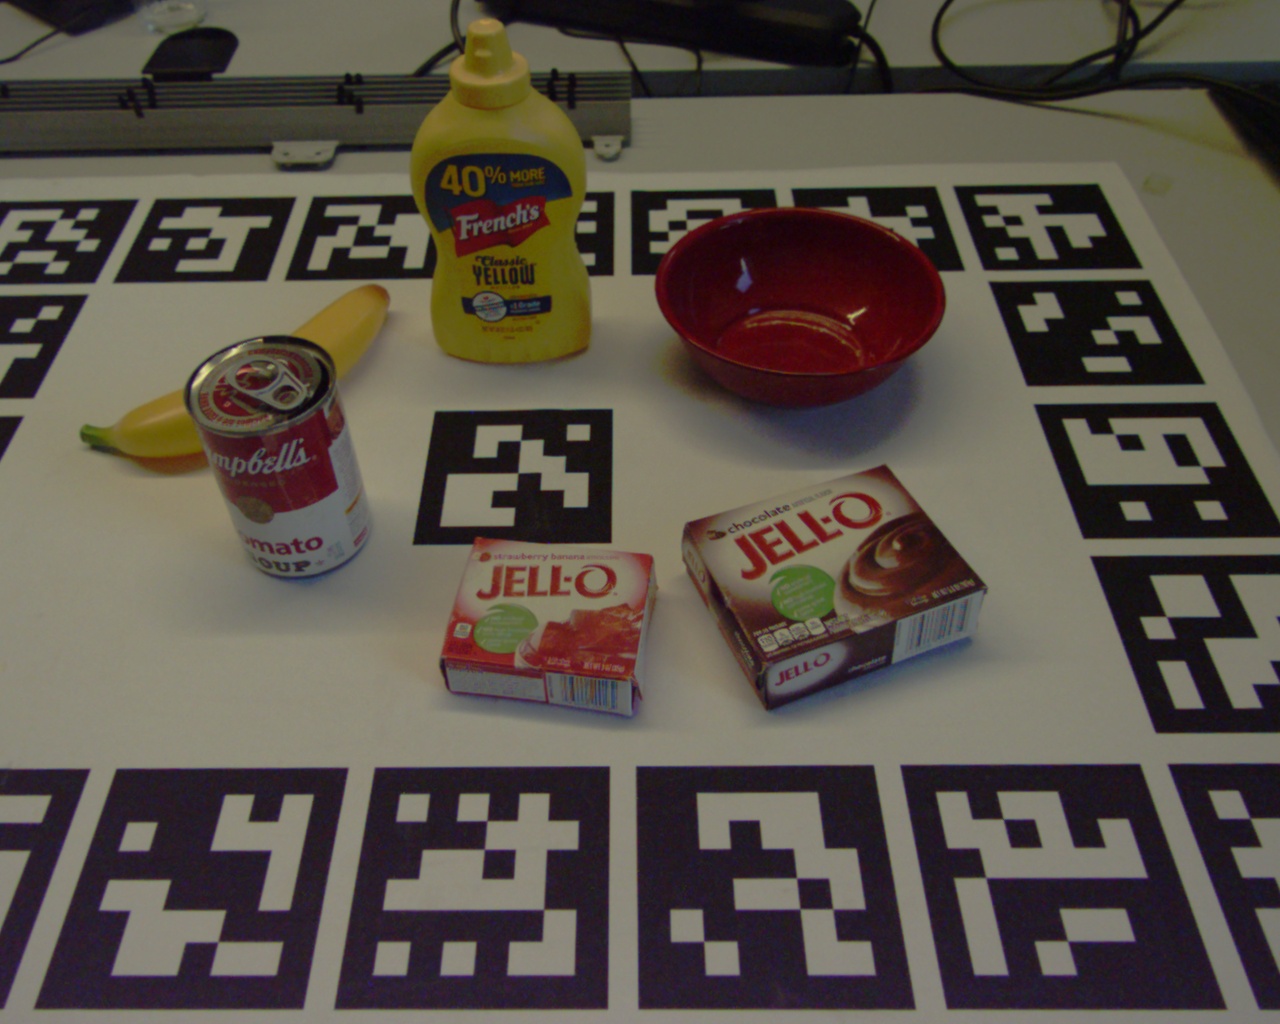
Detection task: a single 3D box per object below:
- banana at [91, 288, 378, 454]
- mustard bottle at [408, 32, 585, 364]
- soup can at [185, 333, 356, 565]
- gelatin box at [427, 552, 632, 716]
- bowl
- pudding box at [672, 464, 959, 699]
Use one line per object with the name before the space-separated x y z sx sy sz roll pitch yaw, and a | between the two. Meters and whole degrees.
banana | -0.228 -0.085 0.690 0.075 0.038 0.196 26 52 36
mustard bottle | -0.082 -0.176 0.652 0.096 0.191 0.058 0 44 0
soup can | -0.185 -0.031 0.583 0.068 0.102 0.068 1 45 -2
gelatin box | -0.052 0.058 0.557 0.089 0.030 0.073 4 50 6
bowl | 0.089 -0.109 0.697 0.162 0.055 0.162 -2 46 1
pudding box | 0.084 0.033 0.571 0.113 0.038 0.091 -19 55 -16
